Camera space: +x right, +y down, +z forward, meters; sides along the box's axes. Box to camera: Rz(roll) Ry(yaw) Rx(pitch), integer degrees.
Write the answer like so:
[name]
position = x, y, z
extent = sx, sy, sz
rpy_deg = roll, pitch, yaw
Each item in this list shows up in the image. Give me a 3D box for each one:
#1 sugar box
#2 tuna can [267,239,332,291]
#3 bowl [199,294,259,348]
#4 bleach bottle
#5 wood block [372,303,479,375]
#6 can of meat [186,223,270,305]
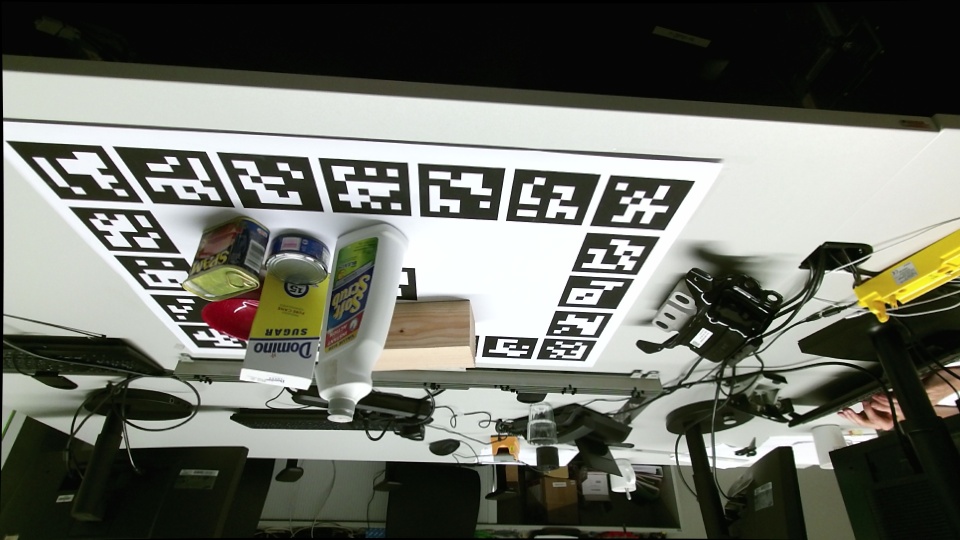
[sugar box]
position = -0.282, 0.085, 0.780
extent = 0.093, 0.175, 0.045
rpy_deg = 11, 143, -22
[tuna can]
position = -0.257, -0.007, 0.768
extent = 0.086, 0.033, 0.086
rpy_deg = -1, 144, 0
[bowl]
position = -0.367, 0.076, 0.880
extent = 0.162, 0.055, 0.162
rpy_deg = -3, 147, -2
[bleach bottle]
position = -0.155, 0.070, 0.695
extent = 0.103, 0.249, 0.068
rpy_deg = -13, 145, 19
[wood block]
position = -0.110, 0.120, 0.921
extent = 0.207, 0.089, 0.091
rpy_deg = -3, 142, 6
[can of meat]
position = -0.341, -0.008, 0.733
extent = 0.102, 0.083, 0.058
rpy_deg = -15, 147, 24
